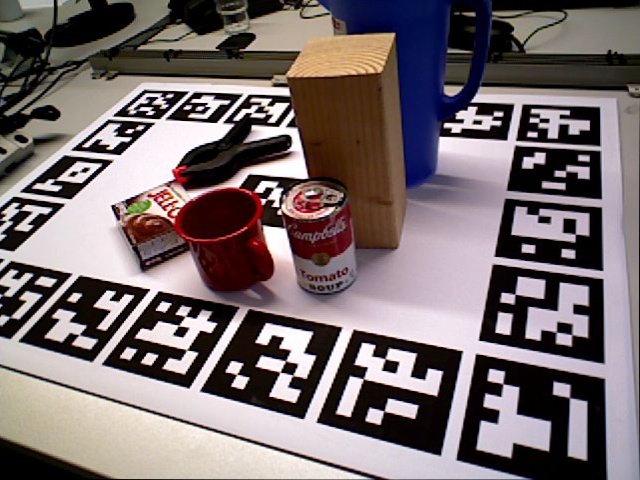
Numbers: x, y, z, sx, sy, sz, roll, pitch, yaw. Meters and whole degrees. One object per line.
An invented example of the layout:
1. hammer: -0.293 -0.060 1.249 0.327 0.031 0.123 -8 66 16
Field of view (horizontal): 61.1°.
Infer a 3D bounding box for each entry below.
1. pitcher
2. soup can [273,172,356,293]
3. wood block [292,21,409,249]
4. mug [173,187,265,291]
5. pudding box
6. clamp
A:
1. pitcher: 0.101 -0.186 0.612 0.190 0.247 0.130 6 40 23
2. soup can: -0.003 -0.006 0.534 0.068 0.104 0.067 -7 42 6
3. wood block: 0.037 -0.100 0.552 0.090 0.210 0.089 9 43 16
4. mug: -0.094 0.004 0.563 0.092 0.083 0.117 -26 41 -21
5. pudding box: -0.205 -0.026 0.663 0.089 0.039 0.113 -30 42 -16
6. clamp: -0.128 -0.121 0.764 0.162 0.037 0.122 -34 52 -24
